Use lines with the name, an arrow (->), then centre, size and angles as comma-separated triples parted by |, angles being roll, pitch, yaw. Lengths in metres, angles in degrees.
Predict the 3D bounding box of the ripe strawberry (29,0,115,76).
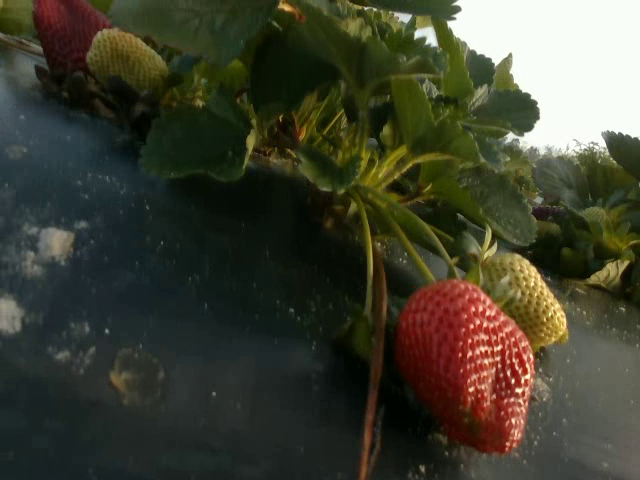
ripe strawberry -> -0.142, -0.118, 0.351 | 0.057, 0.071, 0.058 | -24, 9, 46

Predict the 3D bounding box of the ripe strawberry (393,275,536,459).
ripe strawberry -> 0.048, 0.034, 0.177 | 0.047, 0.035, 0.050 | 21, 40, -9
